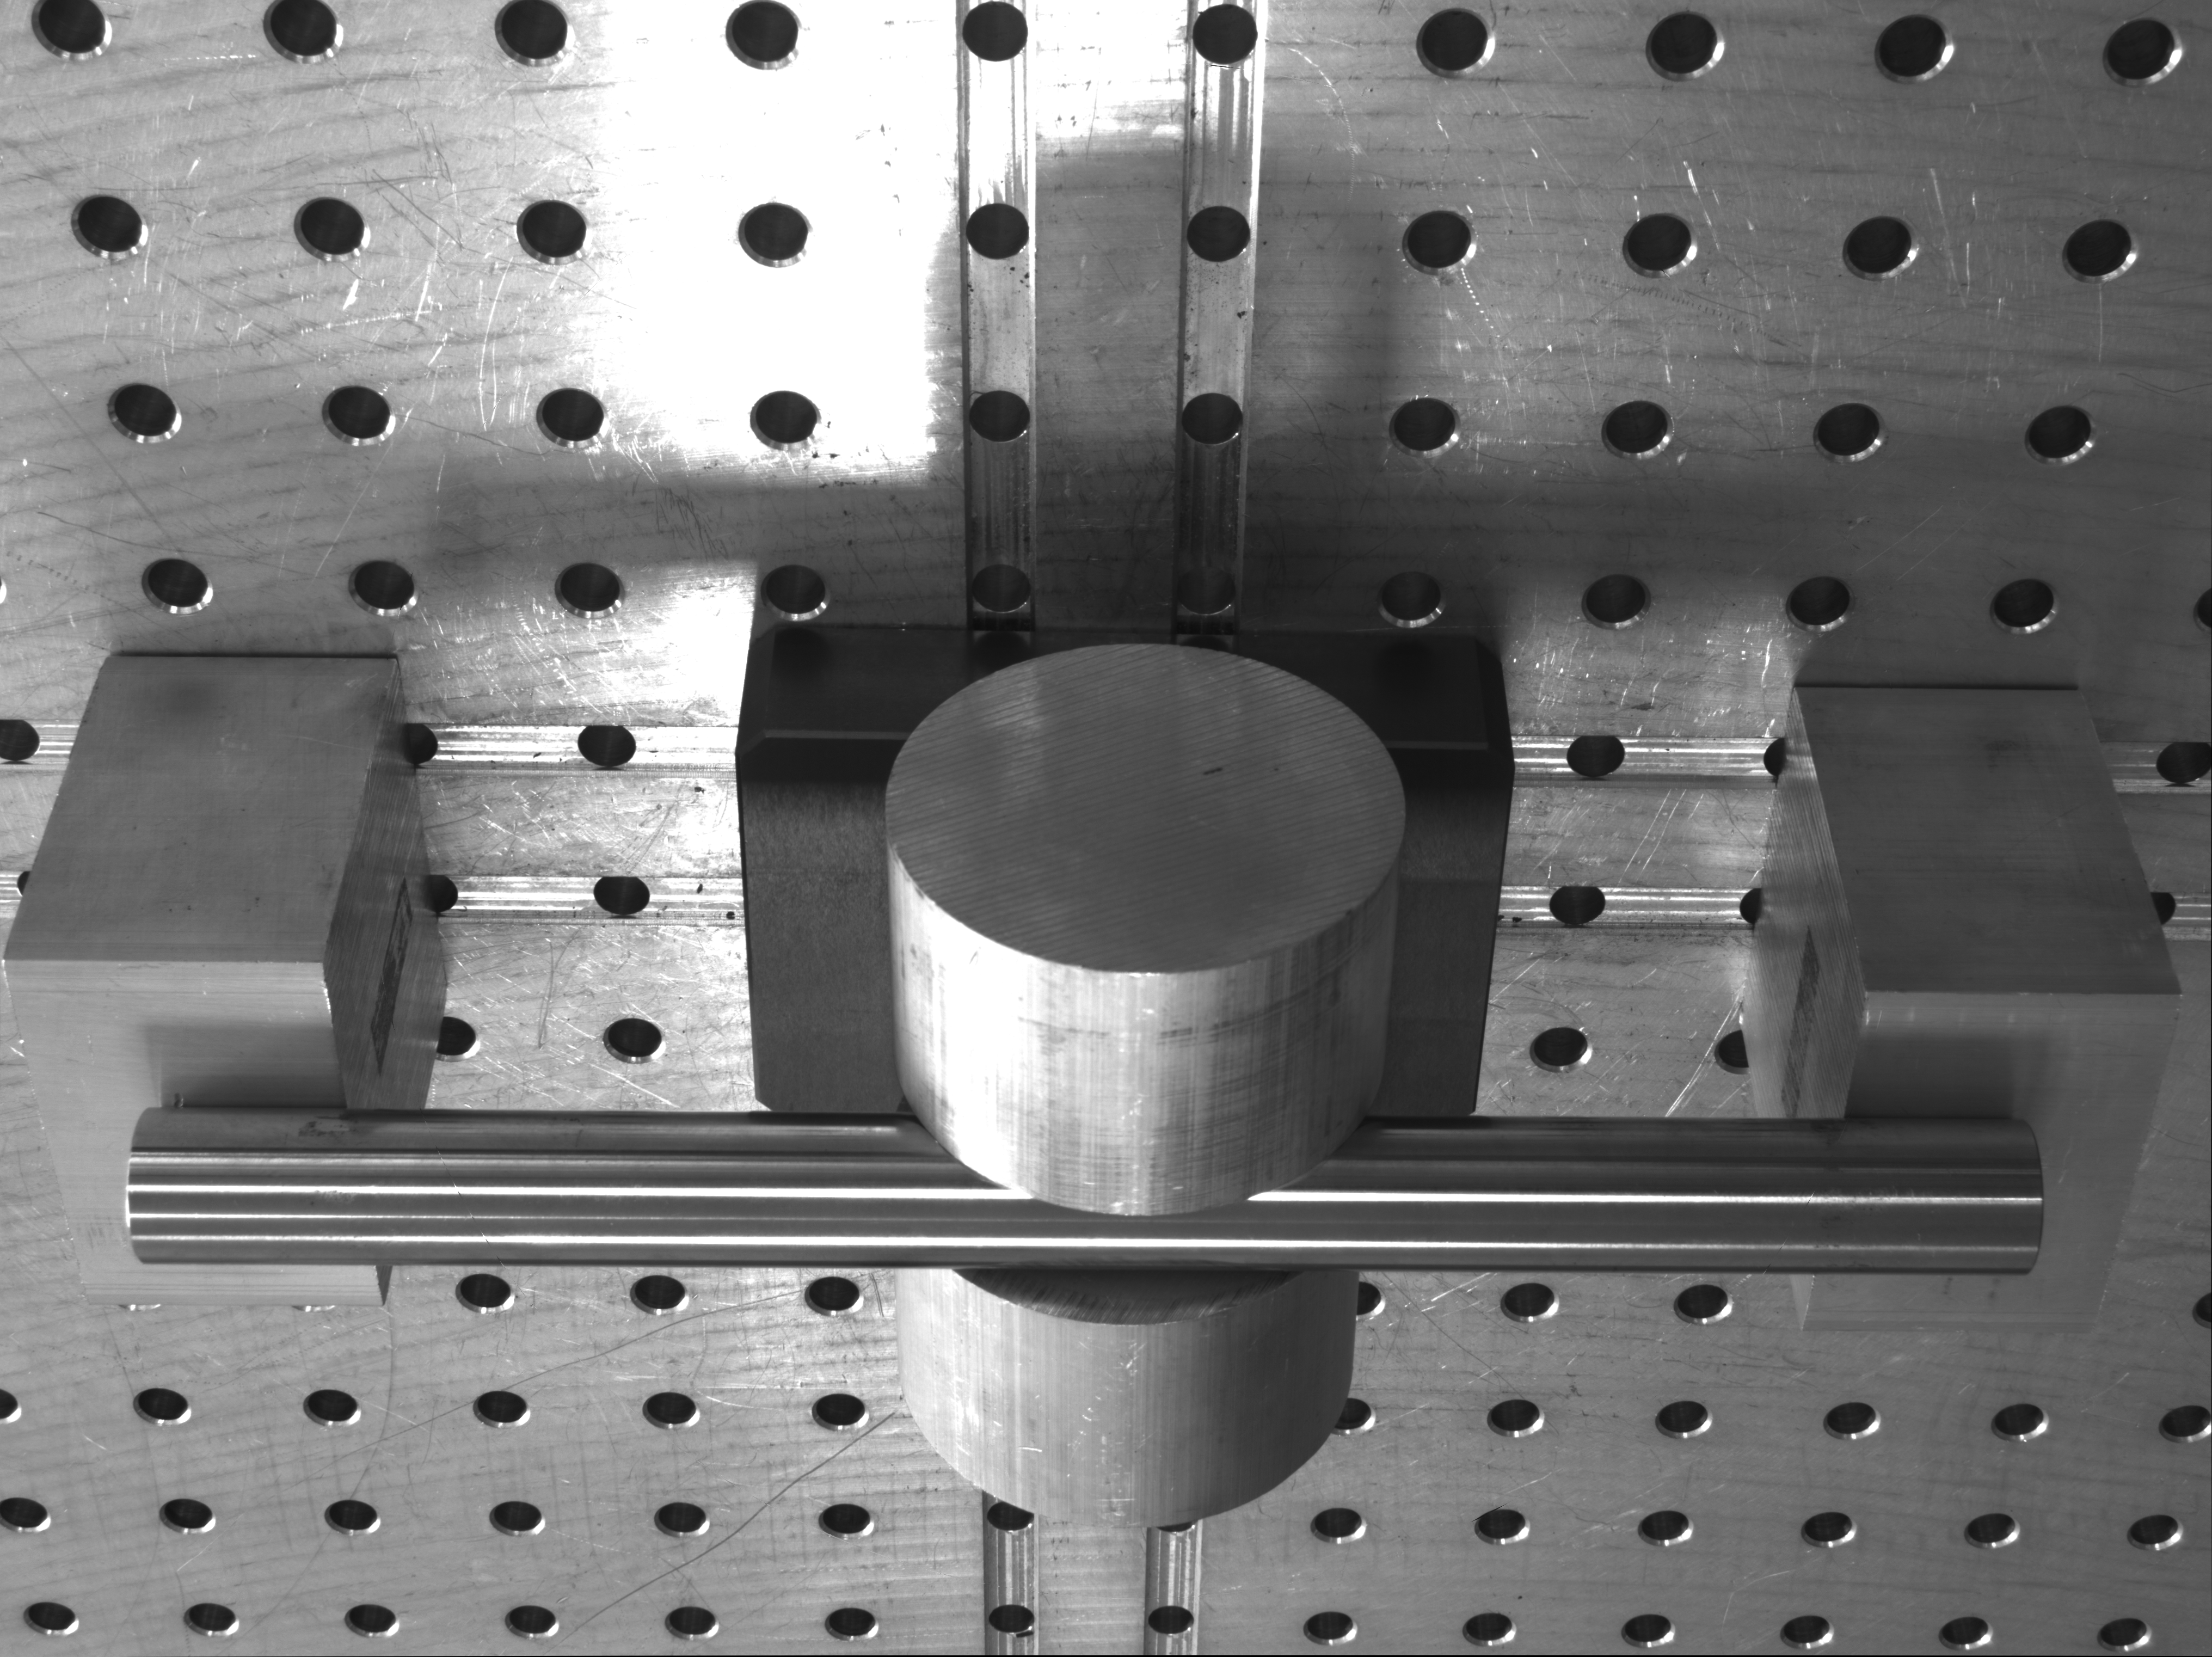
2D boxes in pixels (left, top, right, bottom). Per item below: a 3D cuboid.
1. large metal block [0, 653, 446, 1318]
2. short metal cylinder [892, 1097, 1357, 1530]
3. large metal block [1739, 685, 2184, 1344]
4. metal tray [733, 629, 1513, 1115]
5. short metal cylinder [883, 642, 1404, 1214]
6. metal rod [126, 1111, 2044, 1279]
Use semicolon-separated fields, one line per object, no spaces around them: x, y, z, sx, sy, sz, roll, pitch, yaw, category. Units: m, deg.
-0.148;0.026;0.626;0.050;0.080;0.080;1;130;0;large metal block
0.003;0.072;0.628;0.080;0.080;0.050;1;130;0;short metal cylinder
0.144;0.032;0.632;0.050;0.080;0.080;1;130;0;large metal block
0.002;0.010;0.647;0.130;0.030;0.090;1;130;-1;metal tray
0.006;0.015;0.579;0.080;0.080;0.050;1;130;0;short metal cylinder
-0.003;0.059;0.586;0.300;0.025;0.025;0;130;-1;metal rod
